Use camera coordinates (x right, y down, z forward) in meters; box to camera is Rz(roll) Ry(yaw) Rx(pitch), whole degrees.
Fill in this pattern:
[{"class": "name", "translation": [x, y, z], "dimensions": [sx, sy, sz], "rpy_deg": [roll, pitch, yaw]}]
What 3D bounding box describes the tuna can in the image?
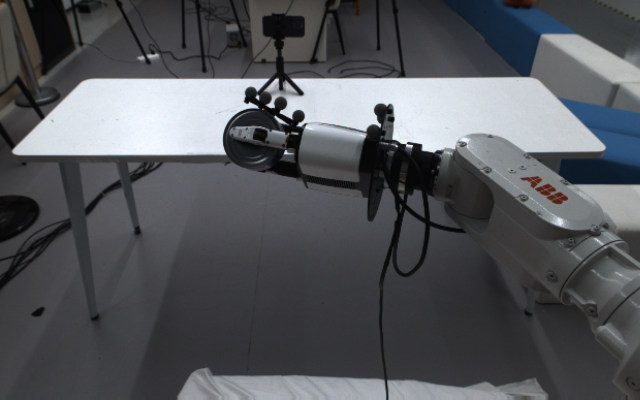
[{"class": "tuna can", "translation": [-0.092, -0.084, 0.691], "dimensions": [0.085, 0.085, 0.034], "rpy_deg": [9, -4, 11]}]
